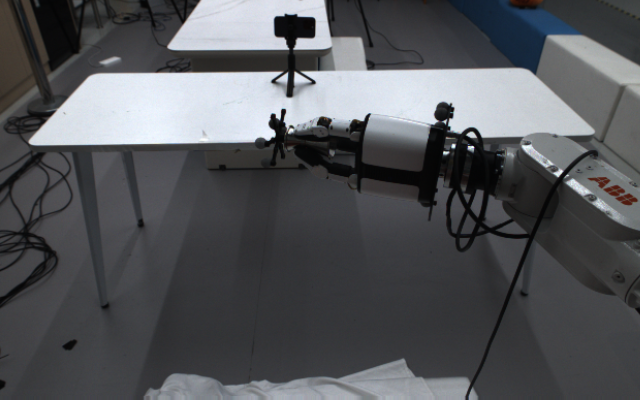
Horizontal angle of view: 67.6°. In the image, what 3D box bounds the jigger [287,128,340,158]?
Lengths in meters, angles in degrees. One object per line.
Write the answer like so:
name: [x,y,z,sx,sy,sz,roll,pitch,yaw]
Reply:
jigger: [-0.008,-0.090,0.700,0.071,0.043,0.043,10,35,16]
